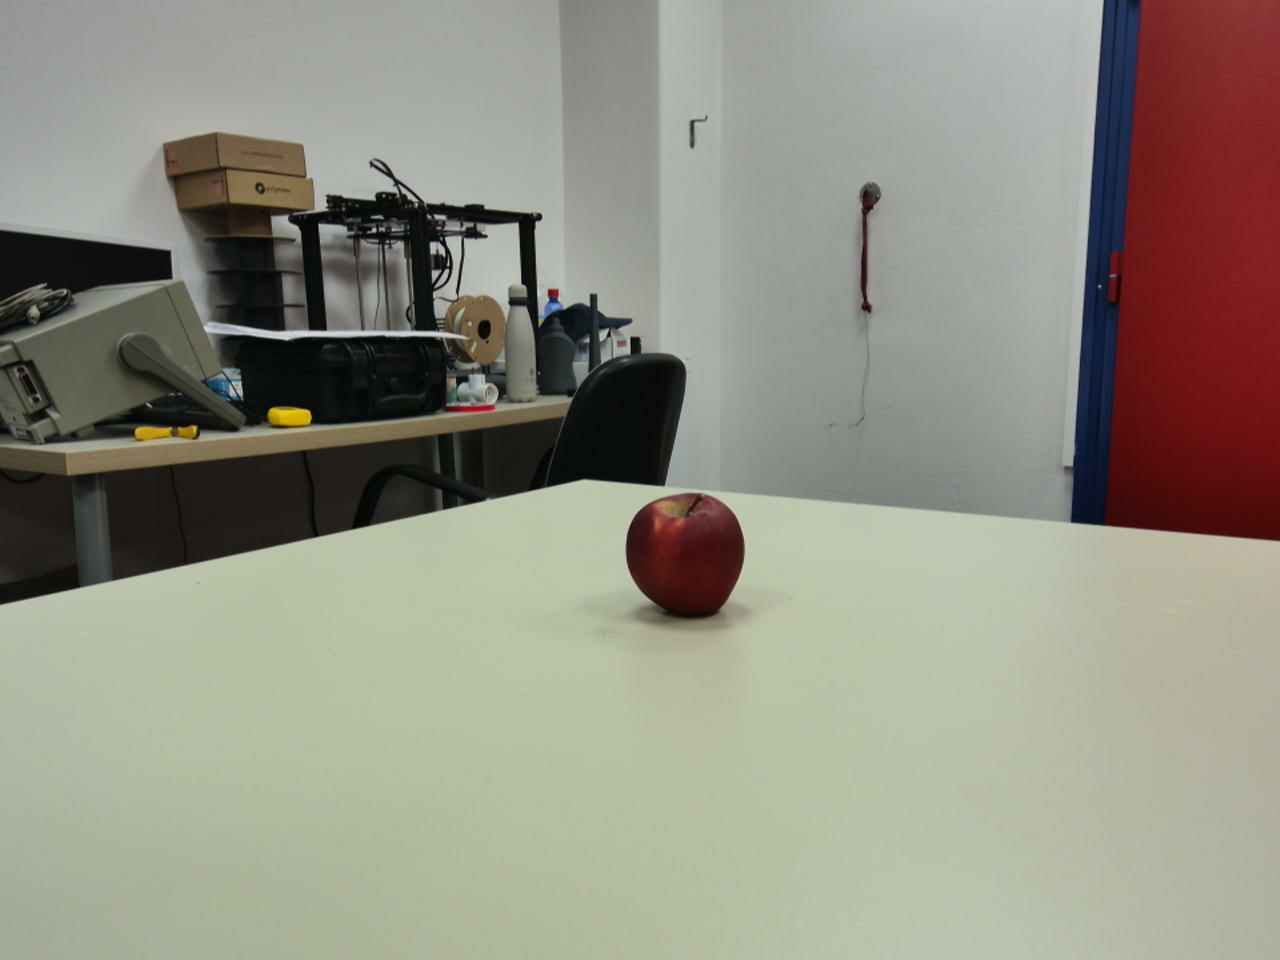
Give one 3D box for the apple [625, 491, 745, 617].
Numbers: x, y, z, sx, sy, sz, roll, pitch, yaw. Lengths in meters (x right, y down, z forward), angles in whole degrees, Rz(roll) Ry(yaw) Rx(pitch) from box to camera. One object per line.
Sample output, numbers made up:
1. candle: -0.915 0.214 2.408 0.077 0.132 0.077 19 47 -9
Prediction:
1. apple: 0.027 0.042 0.584 0.070 0.072 0.070 1 7 0
